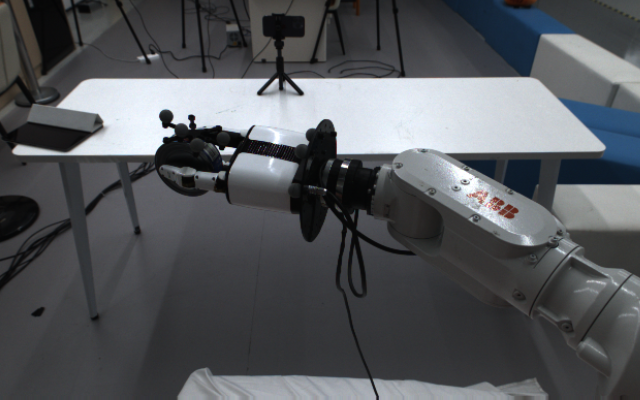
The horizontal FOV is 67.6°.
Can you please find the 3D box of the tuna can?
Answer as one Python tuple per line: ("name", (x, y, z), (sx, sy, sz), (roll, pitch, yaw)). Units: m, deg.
("tuna can", (-0.177, -0.048, 0.659), (0.085, 0.085, 0.034), (9, 34, 10))
